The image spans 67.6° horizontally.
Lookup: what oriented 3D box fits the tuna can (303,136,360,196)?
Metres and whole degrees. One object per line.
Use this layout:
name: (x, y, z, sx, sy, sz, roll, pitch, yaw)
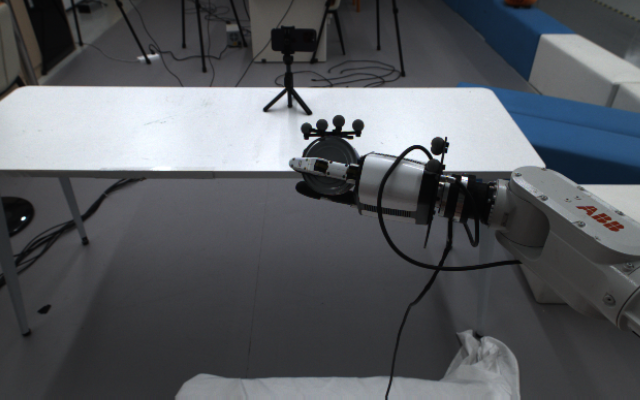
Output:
tuna can: (0.017, -0.050, 0.715, 0.085, 0.085, 0.034, 15, 1, 18)
